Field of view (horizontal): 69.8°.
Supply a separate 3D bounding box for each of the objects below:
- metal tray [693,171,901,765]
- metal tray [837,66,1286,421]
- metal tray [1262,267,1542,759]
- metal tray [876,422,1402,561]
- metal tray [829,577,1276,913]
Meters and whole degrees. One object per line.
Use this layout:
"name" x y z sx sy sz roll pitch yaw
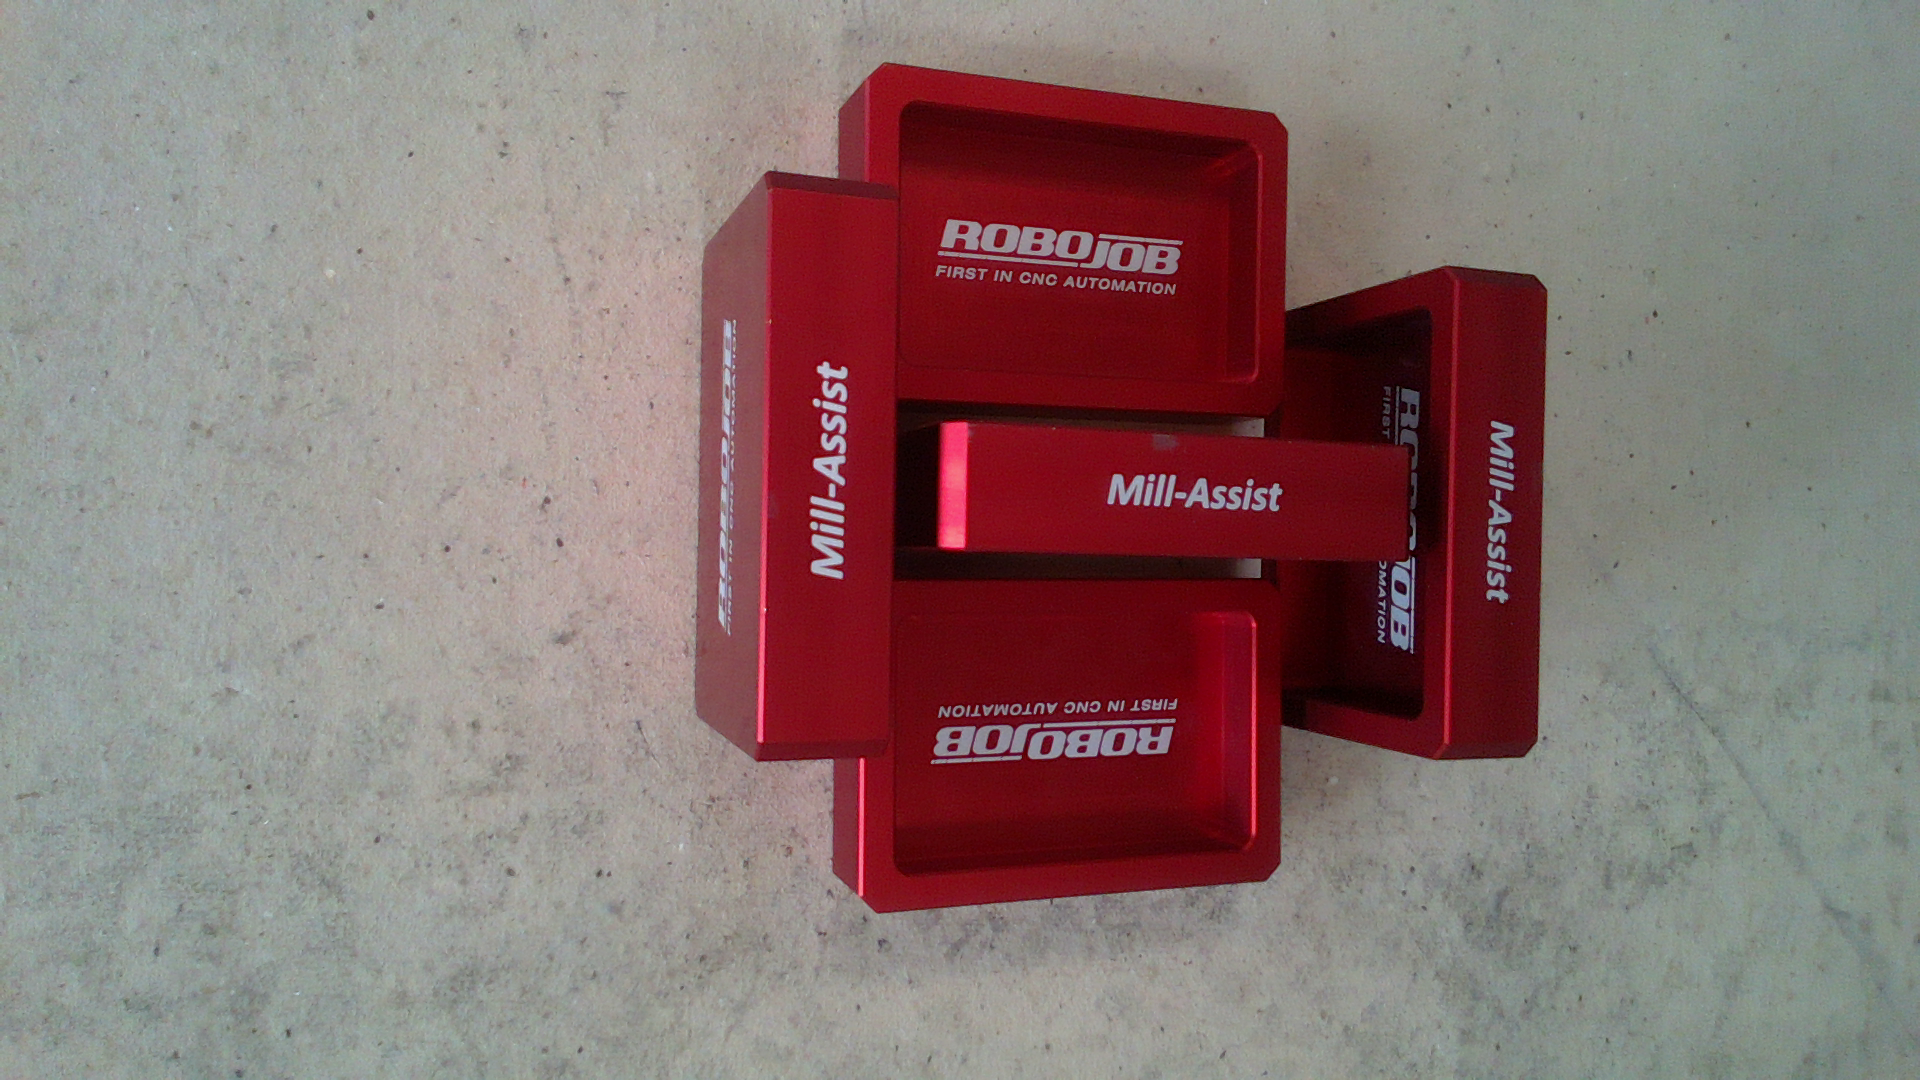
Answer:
"metal tray" -0.044 -0.016 0.344 0.030 0.090 0.130 1 90 -20
"metal tray" 0.030 -0.082 0.402 0.130 0.030 0.090 0 93 -20
"metal tray" 0.126 -0.007 0.405 0.030 0.090 0.130 1 90 -20
"metal tray" 0.041 -0.012 0.376 0.130 0.090 0.030 1 91 -20
"metal tray" 0.029 0.056 0.403 0.130 0.030 0.090 1 89 -20
